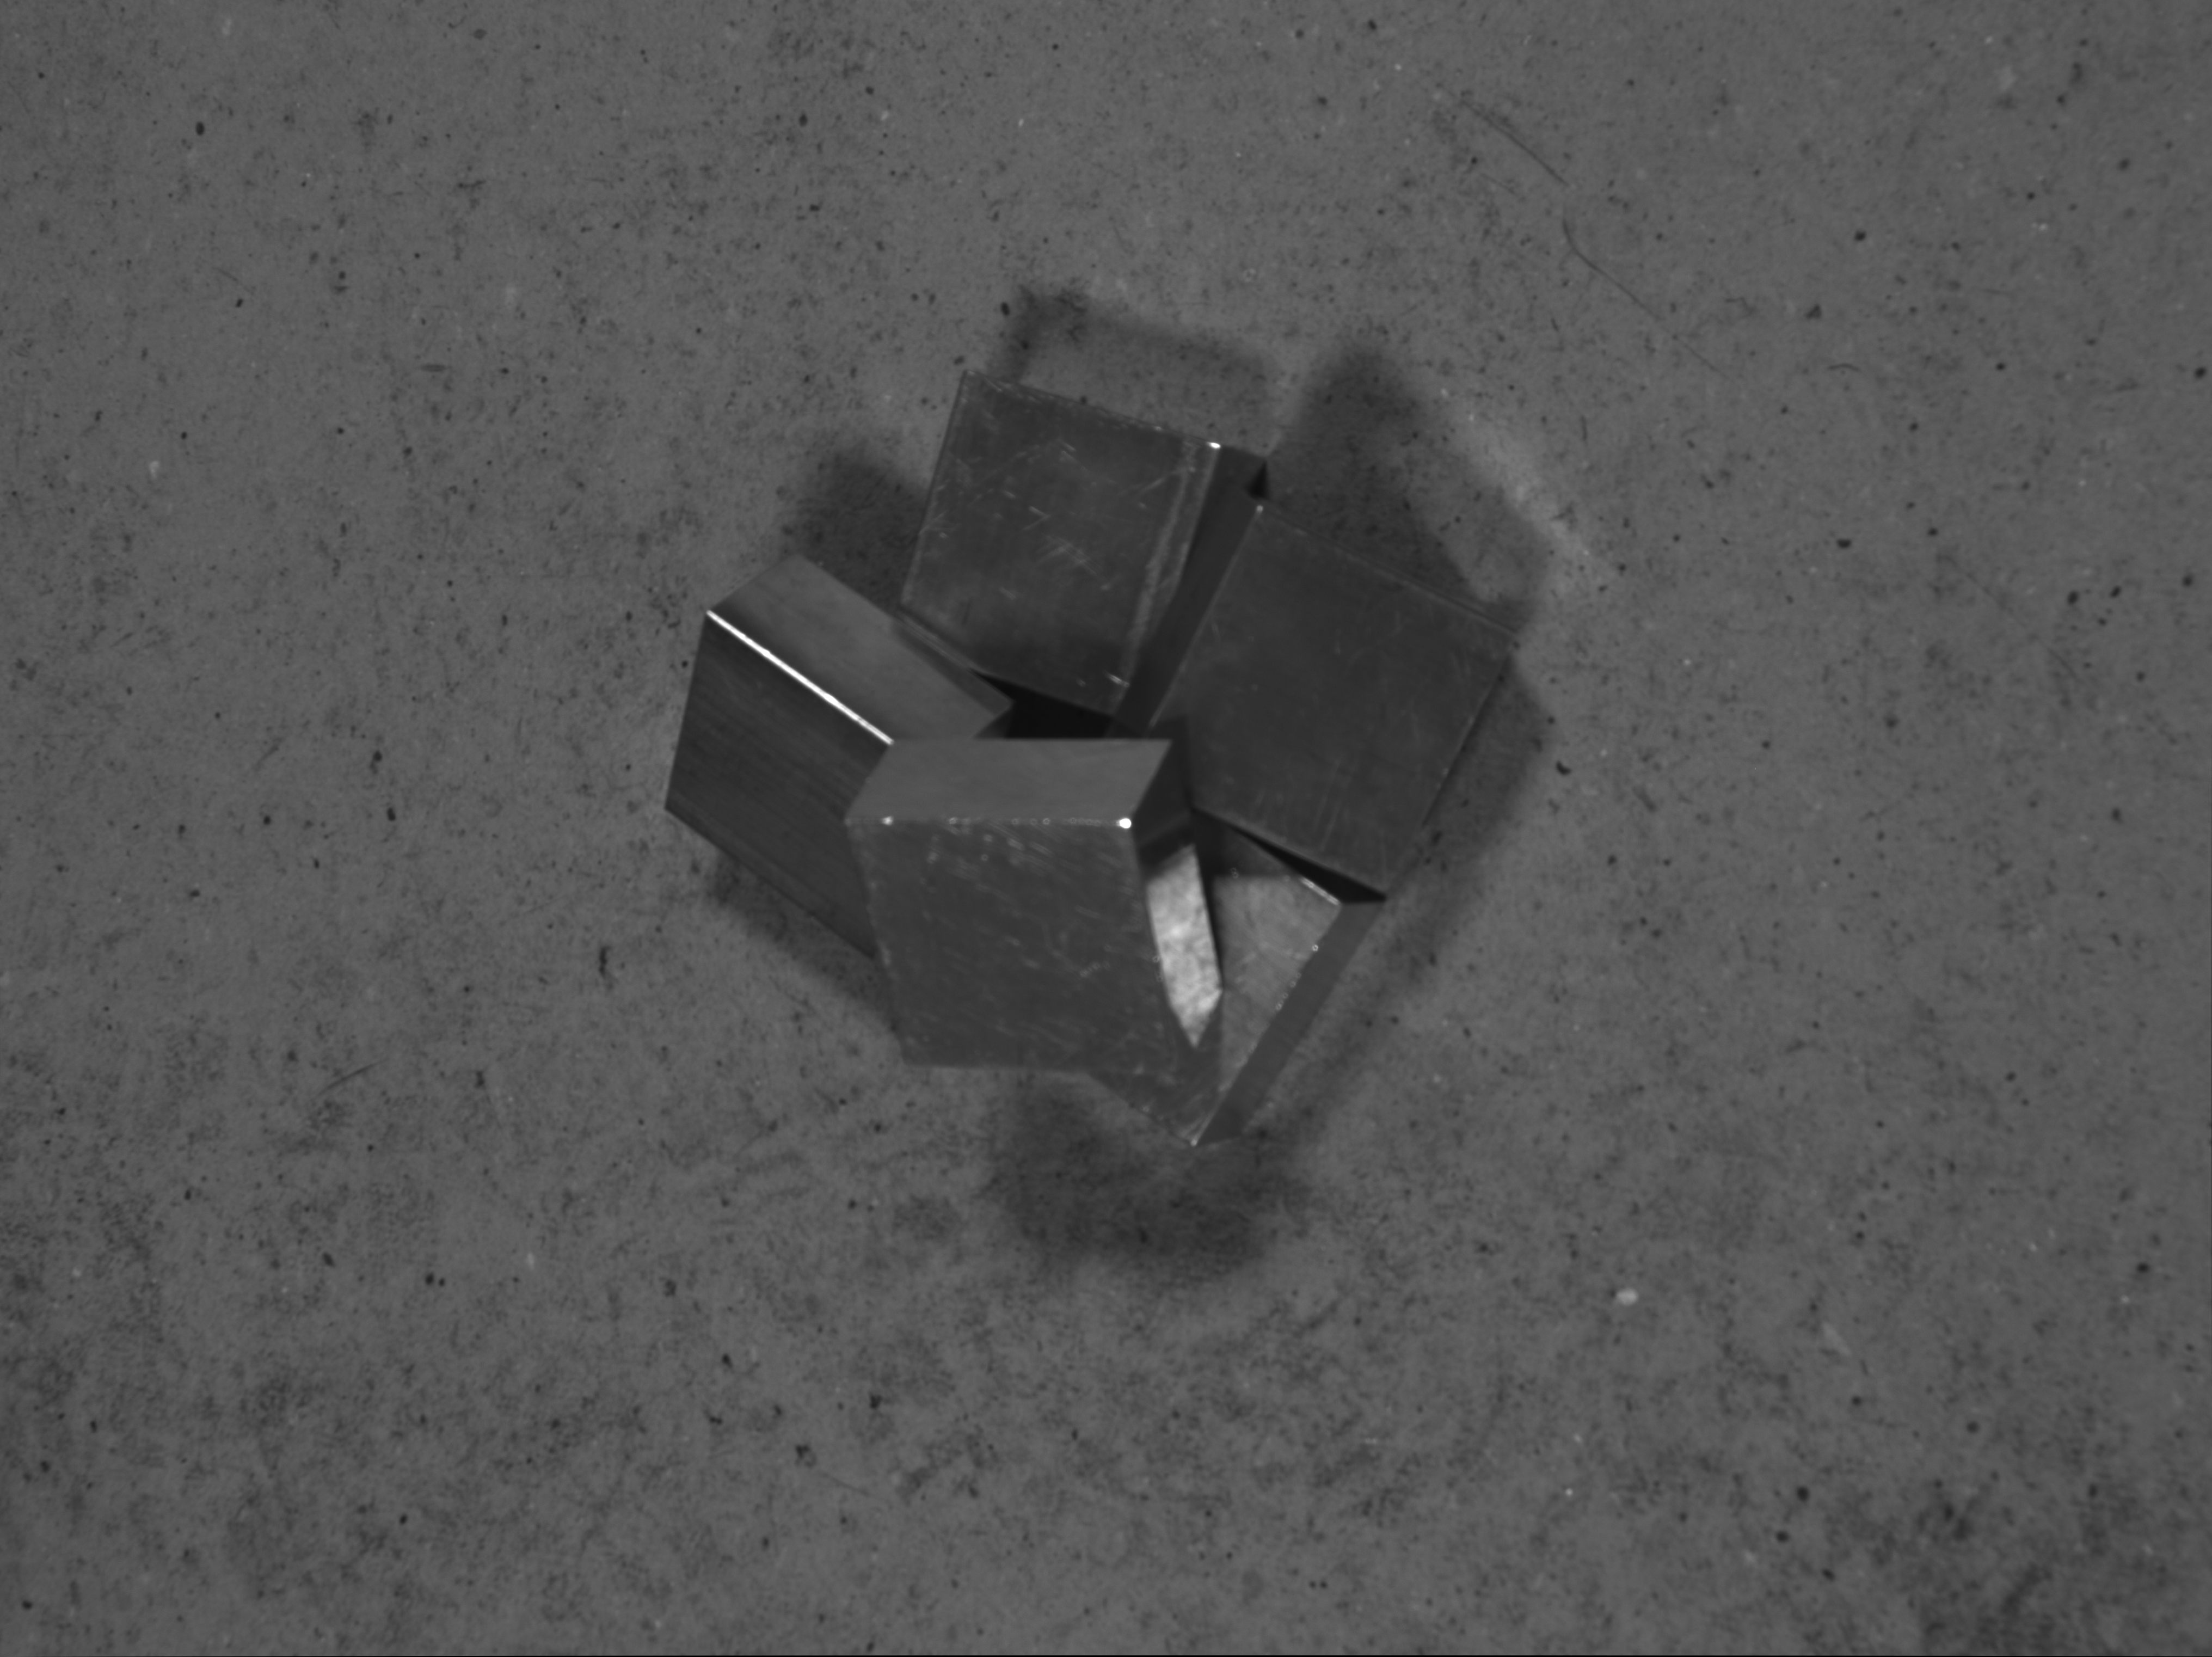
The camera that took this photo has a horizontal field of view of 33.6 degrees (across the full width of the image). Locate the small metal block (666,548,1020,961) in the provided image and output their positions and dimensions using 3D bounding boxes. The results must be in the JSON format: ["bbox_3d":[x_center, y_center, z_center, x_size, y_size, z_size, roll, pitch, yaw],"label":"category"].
[{"bbox_3d":[-0.047,-0.013,0.649,0.050,0.025,0.050,35,137,16],"label":"small metal block"}]

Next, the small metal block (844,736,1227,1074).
[{"bbox_3d":[-0.011,0.013,0.610,0.050,0.025,0.050,0,122,20],"label":"small metal block"}]

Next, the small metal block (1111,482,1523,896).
[{"bbox_3d":[0.034,-0.024,0.620,0.050,0.025,0.050,24,99,-16],"label":"small metal block"}]

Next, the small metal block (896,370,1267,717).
[{"bbox_3d":[-0.005,-0.049,0.647,0.050,0.025,0.050,18,96,19],"label":"small metal block"}]

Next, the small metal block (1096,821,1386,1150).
[{"bbox_3d":[0.013,0.021,0.640,0.050,0.025,0.050,34,101,17],"label":"small metal block"}]
